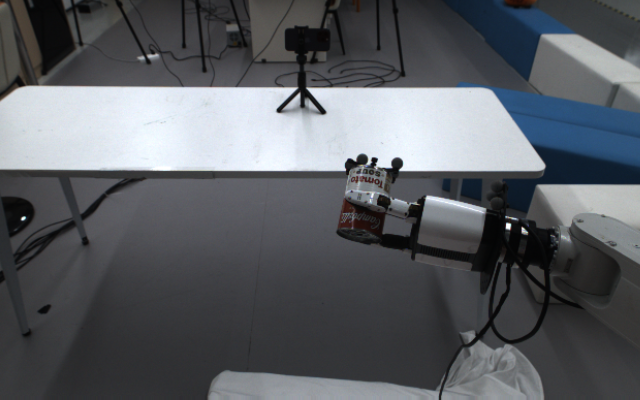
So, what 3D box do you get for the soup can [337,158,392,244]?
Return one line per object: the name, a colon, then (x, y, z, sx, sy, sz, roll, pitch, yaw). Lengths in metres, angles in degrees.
soup can: (0.068, 0.005, 0.719, 0.067, 0.067, 0.101, 9, 72, 10)
